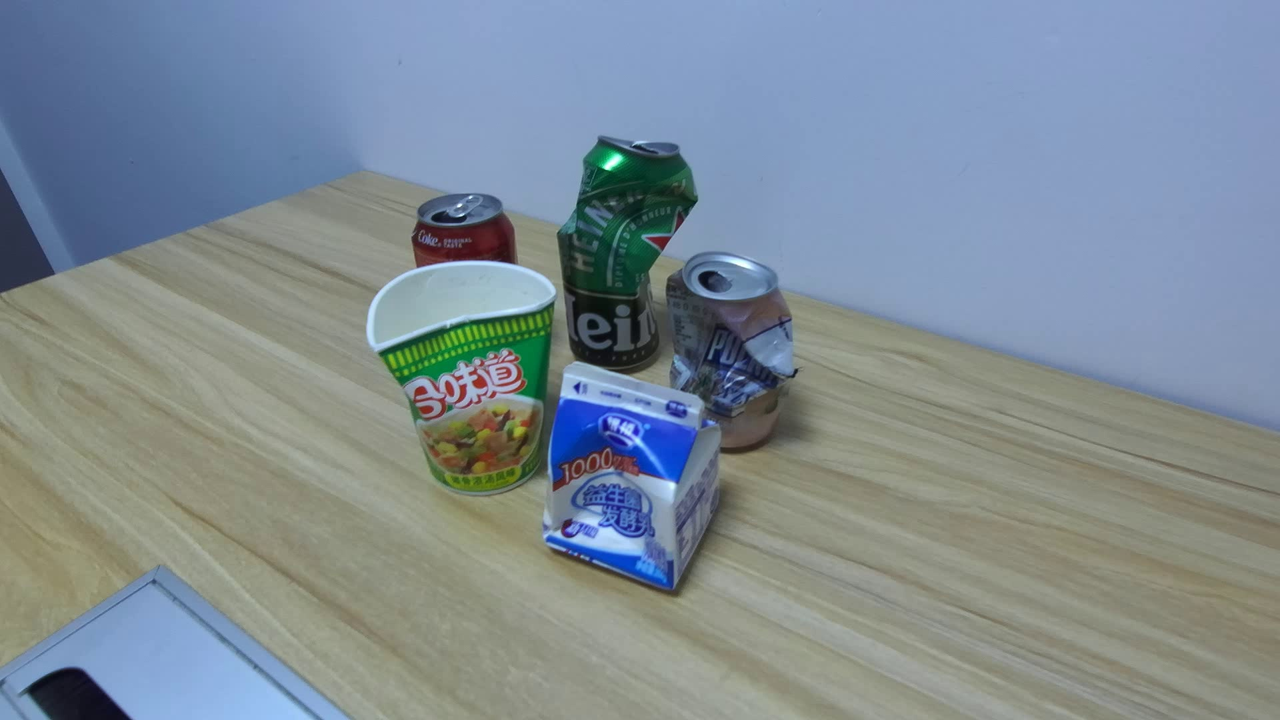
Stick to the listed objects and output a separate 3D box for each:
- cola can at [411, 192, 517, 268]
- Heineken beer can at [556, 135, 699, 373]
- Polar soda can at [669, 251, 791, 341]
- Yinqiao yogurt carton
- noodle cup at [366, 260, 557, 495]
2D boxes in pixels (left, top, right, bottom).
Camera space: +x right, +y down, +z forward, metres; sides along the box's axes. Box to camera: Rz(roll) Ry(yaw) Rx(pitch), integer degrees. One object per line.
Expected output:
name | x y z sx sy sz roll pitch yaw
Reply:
cola can | -0.117 -0.053 0.489 0.068 0.120 0.067 0 36 1
Heineken beer can | -0.012 -0.069 0.479 0.067 0.159 0.079 22 32 27
Polar soda can | 0.053 -0.003 0.420 0.074 0.114 0.070 -1 40 5
Yinqiao yogurt carton | -0.003 0.050 0.358 0.077 0.094 0.071 14 30 19
noodle cup | -0.091 0.011 0.402 0.094 0.109 0.086 -4 34 -5
